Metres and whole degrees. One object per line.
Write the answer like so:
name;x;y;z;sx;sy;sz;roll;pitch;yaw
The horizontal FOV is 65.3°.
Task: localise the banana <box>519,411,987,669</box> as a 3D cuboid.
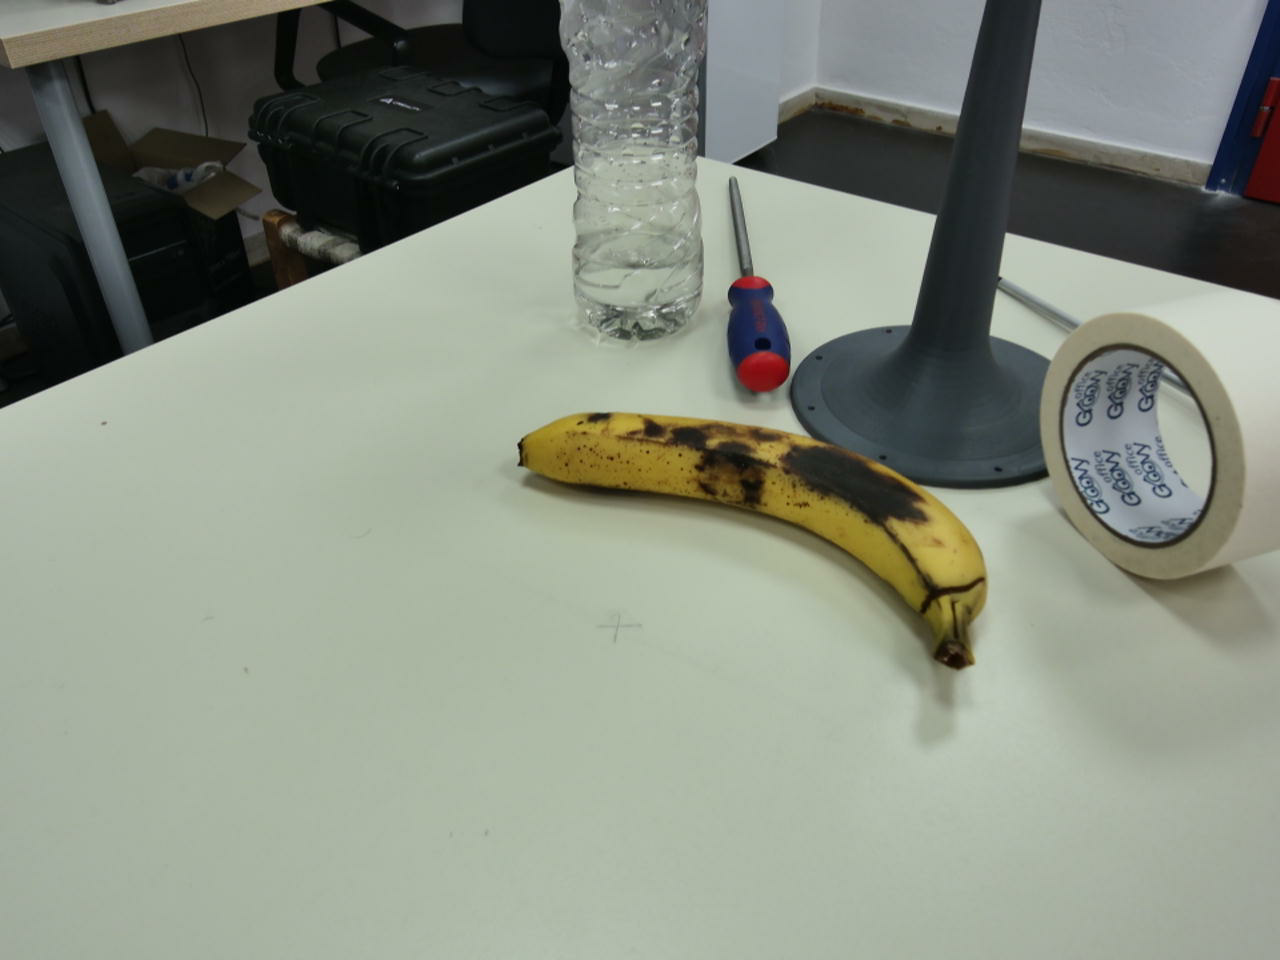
banana;0.052;0.006;0.428;0.222;0.037;0.084;26;44;32
